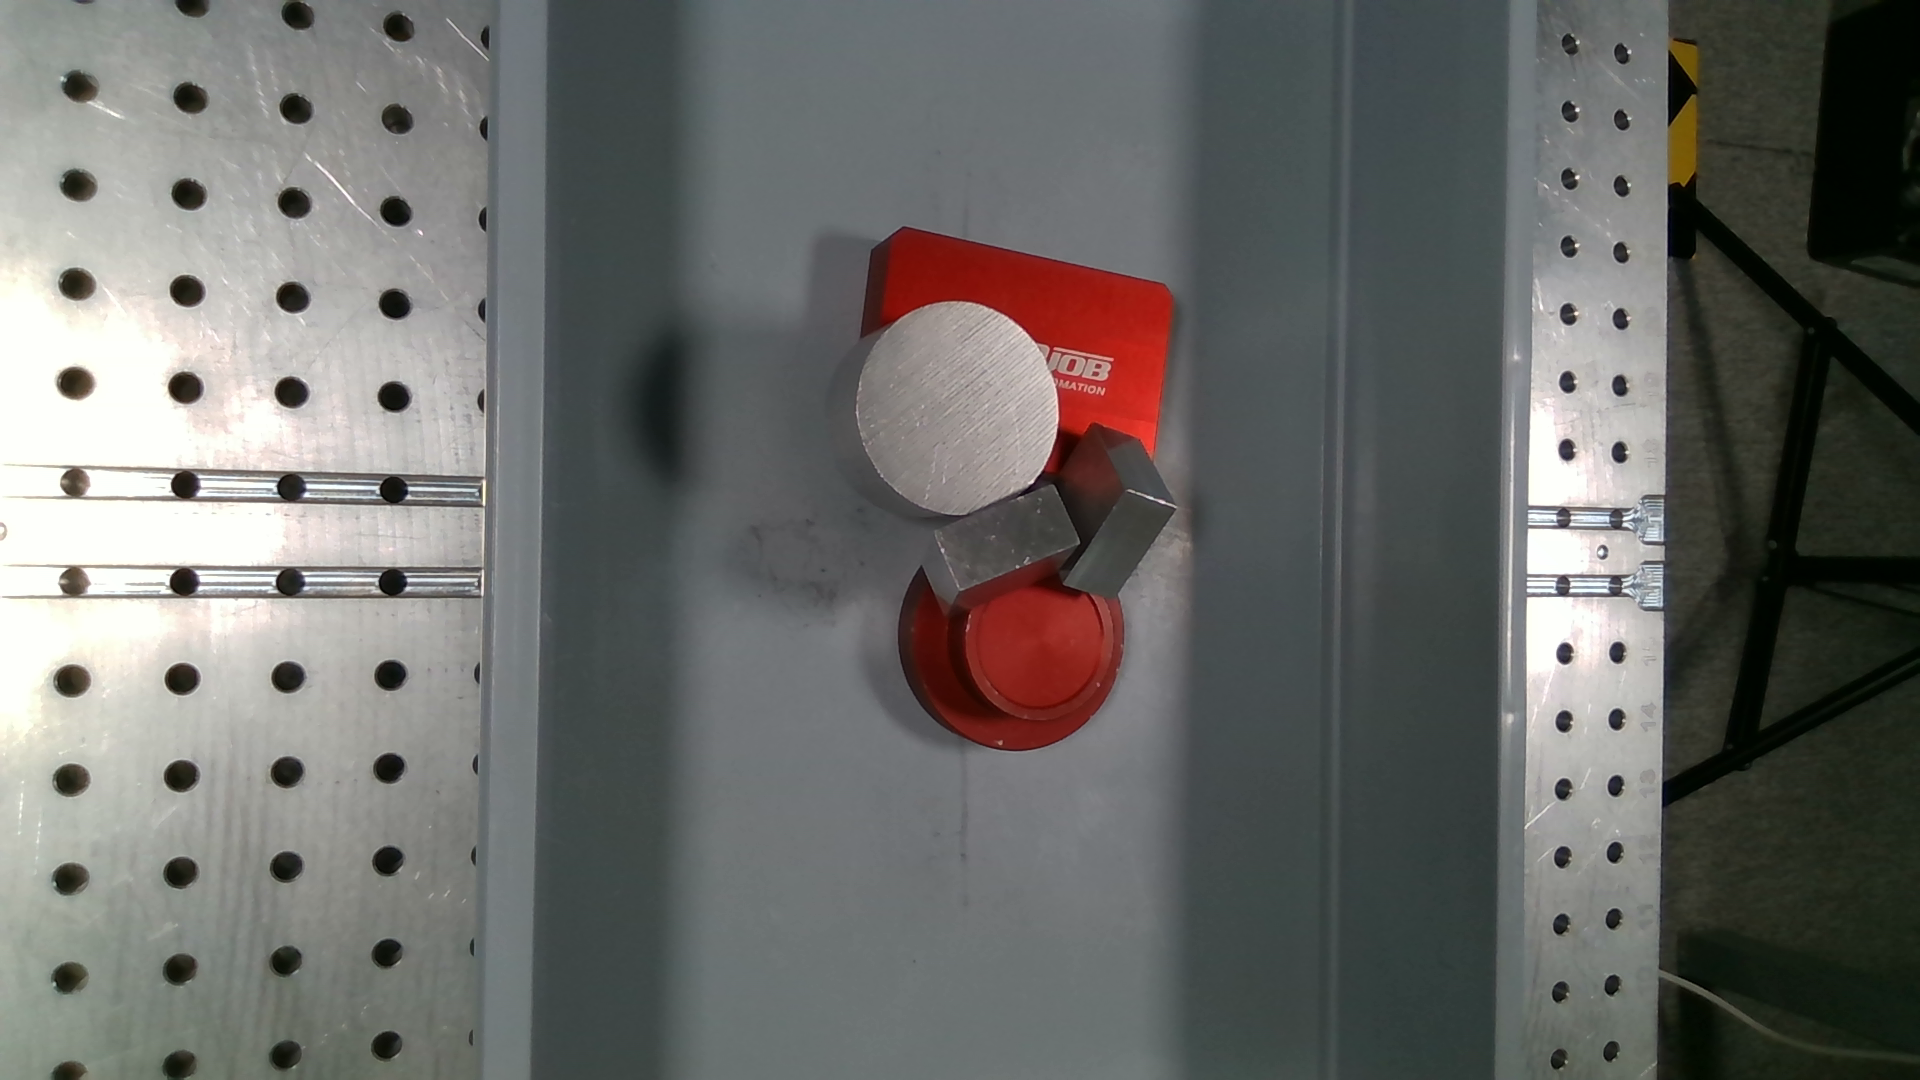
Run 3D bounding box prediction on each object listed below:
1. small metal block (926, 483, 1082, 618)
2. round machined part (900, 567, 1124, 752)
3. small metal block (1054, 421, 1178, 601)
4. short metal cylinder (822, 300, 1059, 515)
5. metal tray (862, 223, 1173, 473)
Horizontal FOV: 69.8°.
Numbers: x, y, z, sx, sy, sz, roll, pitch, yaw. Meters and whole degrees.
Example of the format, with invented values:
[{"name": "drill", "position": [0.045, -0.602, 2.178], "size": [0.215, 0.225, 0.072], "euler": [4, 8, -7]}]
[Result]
[{"name": "small metal block", "position": [0.015, 0.005, 0.535], "size": [0.050, 0.050, 0.025], "euler": [-22, 79, -13]}, {"name": "round machined part", "position": [0.026, 0.041, 0.585], "size": [0.098, 0.042, 0.098], "euler": [0, 90, -20]}, {"name": "small metal block", "position": [0.058, -0.012, 0.566], "size": [0.025, 0.050, 0.050], "euler": [17, 121, -25]}, {"name": "short metal cylinder", "position": [-0.008, -0.049, 0.536], "size": [0.080, 0.050, 0.080], "euler": [0, 90, -20]}, {"name": "metal tray", "position": [0.022, -0.076, 0.588], "size": [0.130, 0.030, 0.090], "euler": [8, 87, -20]}]
